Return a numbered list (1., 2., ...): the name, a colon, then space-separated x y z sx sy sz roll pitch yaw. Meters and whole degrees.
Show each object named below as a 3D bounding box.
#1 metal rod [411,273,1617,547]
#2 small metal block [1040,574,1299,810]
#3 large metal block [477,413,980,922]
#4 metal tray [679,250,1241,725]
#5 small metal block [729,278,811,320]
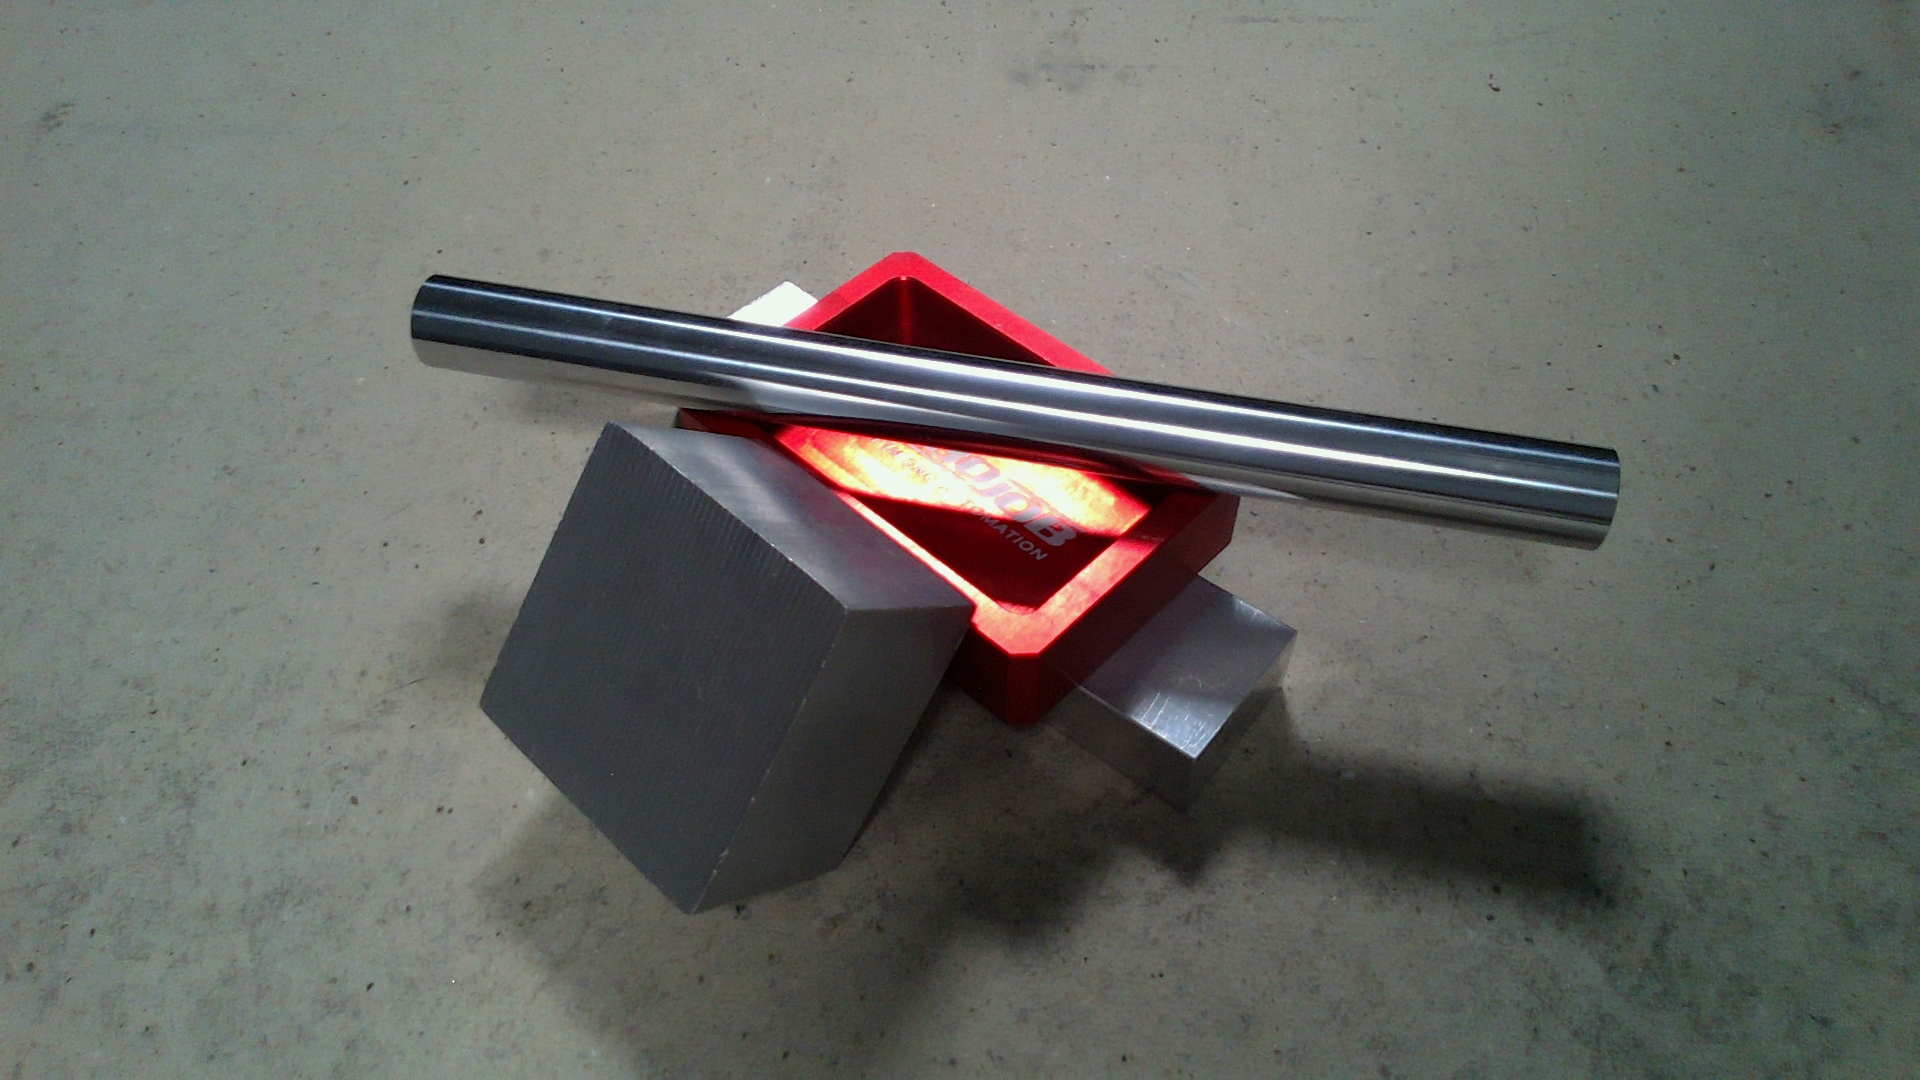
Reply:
1. metal rod: 0.006 -0.035 0.349 0.300 0.025 0.025 9 51 8
2. small metal block: 0.053 0.034 0.363 0.050 0.025 0.050 31 57 24
3. large metal block: -0.056 0.027 0.322 0.080 0.080 0.050 35 17 26
4. metal tray: -0.001 -0.021 0.372 0.130 0.030 0.090 36 59 27
5. small metal block: -0.056 -0.050 0.434 0.050 0.025 0.050 37 59 27
